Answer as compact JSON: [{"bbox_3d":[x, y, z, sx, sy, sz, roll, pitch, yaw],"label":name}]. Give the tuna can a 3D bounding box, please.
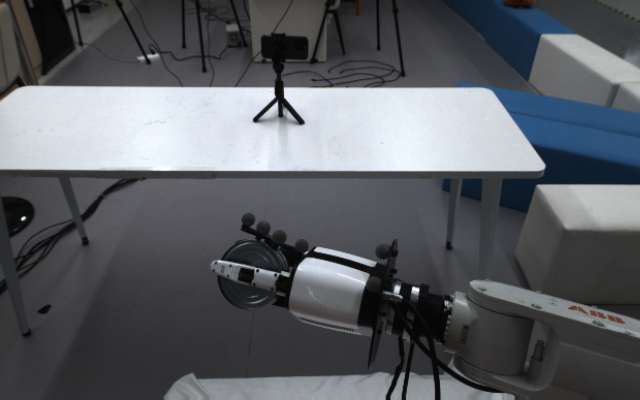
[{"bbox_3d":[-0.080,0.092,0.607,0.085,0.085,0.034,13,-6,16],"label":"tuna can"}]
